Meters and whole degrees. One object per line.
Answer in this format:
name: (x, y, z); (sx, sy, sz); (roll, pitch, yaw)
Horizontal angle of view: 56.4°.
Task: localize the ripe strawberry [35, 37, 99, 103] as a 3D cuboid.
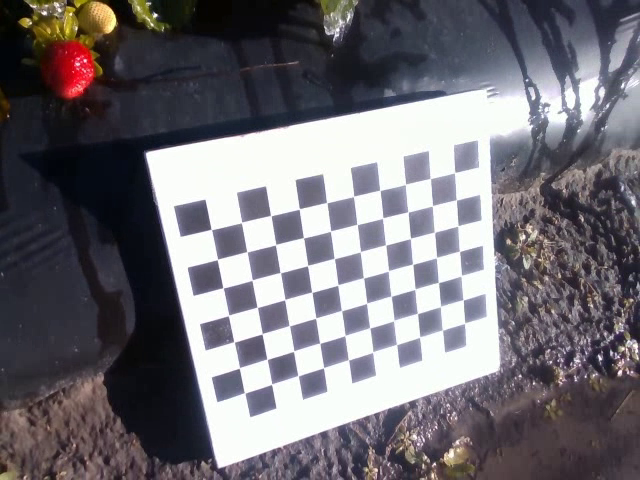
ripe strawberry: (-0.133, -0.087, 0.317); (0.039, 0.040, 0.039); (-20, 45, -4)
